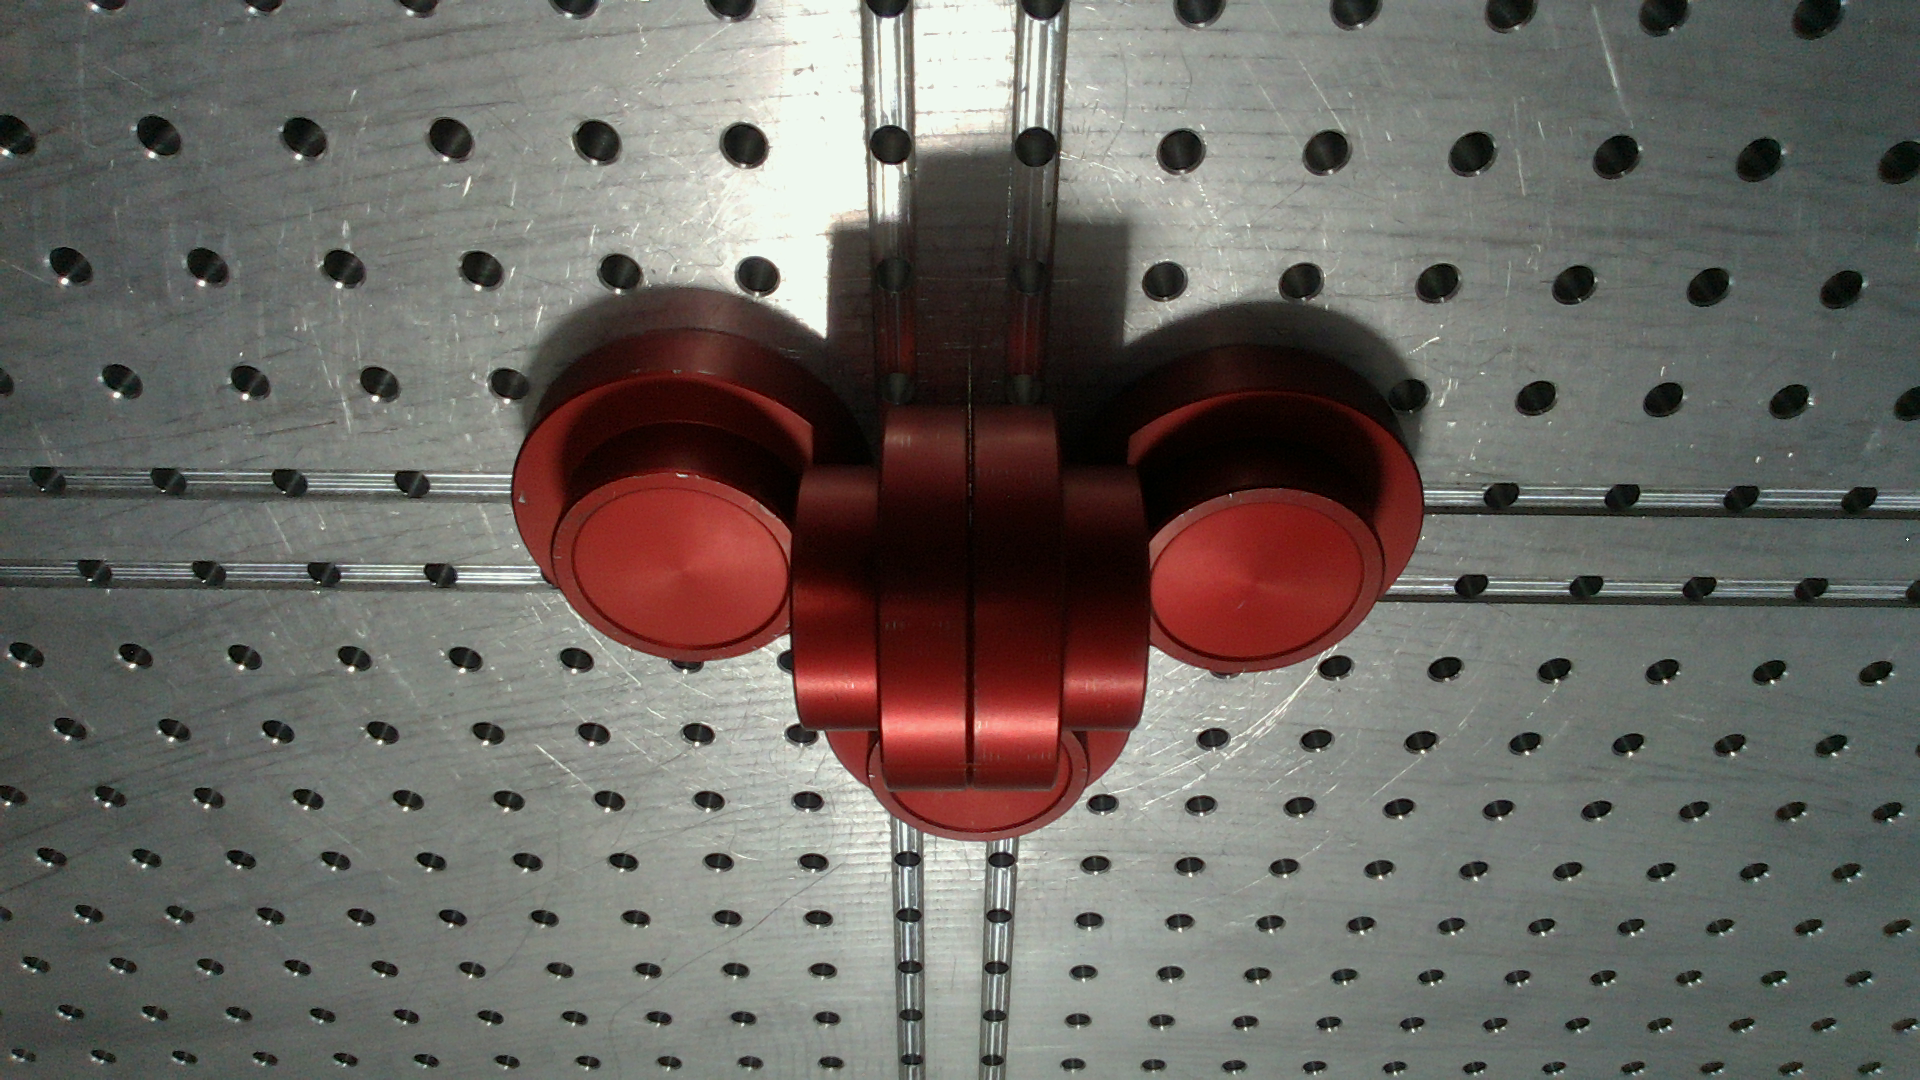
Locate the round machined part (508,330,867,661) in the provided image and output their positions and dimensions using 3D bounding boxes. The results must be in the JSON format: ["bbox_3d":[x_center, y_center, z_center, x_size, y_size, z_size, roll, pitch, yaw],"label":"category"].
[{"bbox_3d":[-0.074,-0.005,0.378,0.098,0.042,0.098,0,130,0],"label":"round machined part"}]

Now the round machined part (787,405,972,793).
[{"bbox_3d":[-0.019,0.014,0.350,0.042,0.098,0.098,1,130,-1],"label":"round machined part"}]

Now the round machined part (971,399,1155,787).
[{"bbox_3d":[0.024,0.013,0.350,0.042,0.098,0.098,-1,130,1],"label":"round machined part"}]

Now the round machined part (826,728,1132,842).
[{"bbox_3d":[0.005,0.057,0.430,0.098,0.042,0.098,0,130,0],"label":"round machined part"}]

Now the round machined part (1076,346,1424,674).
[{"bbox_3d":[0.079,-0.001,0.381,0.098,0.042,0.098,0,130,0],"label":"round machined part"}]
